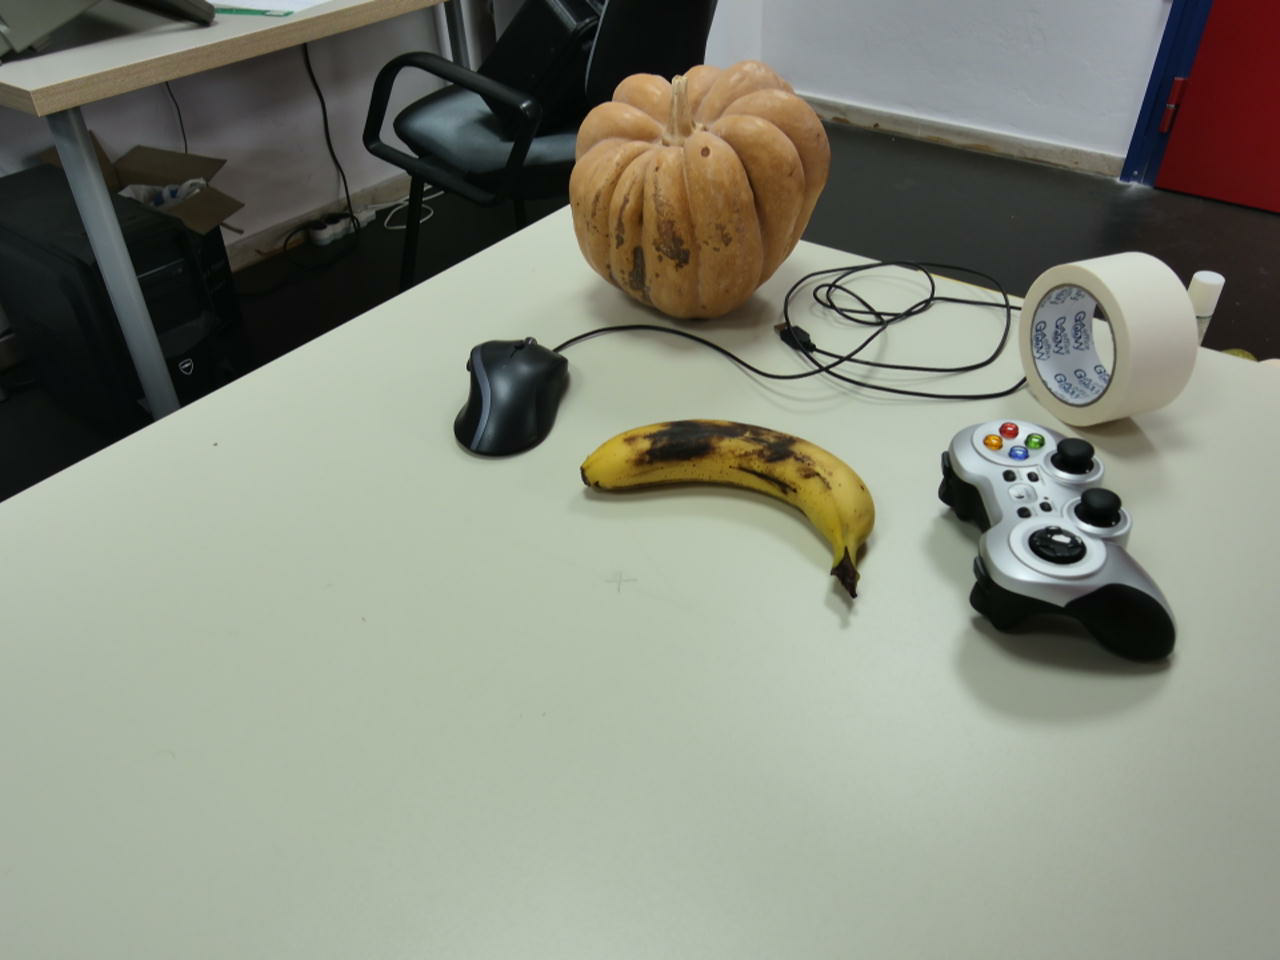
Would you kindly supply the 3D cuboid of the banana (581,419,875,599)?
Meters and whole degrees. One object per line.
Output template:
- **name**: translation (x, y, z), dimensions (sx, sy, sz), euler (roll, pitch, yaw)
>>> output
- **banana**: translation (0.063, 0.001, 0.597), dimensions (0.187, 0.039, 0.094), euler (23, 43, 28)
